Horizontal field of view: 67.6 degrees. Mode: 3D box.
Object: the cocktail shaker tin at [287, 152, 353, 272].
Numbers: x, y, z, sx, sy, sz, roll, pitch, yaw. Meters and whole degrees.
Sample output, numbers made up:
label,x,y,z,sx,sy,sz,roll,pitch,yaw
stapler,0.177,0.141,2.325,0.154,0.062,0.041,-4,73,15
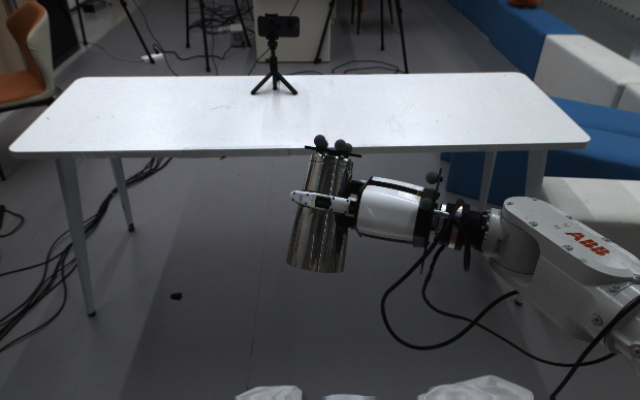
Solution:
label,x,y,z,sx,sy,sz,roll,pitch,yaw
cocktail shaker tin,0.006,0.018,0.744,0.093,0.170,0.093,9,3,0
